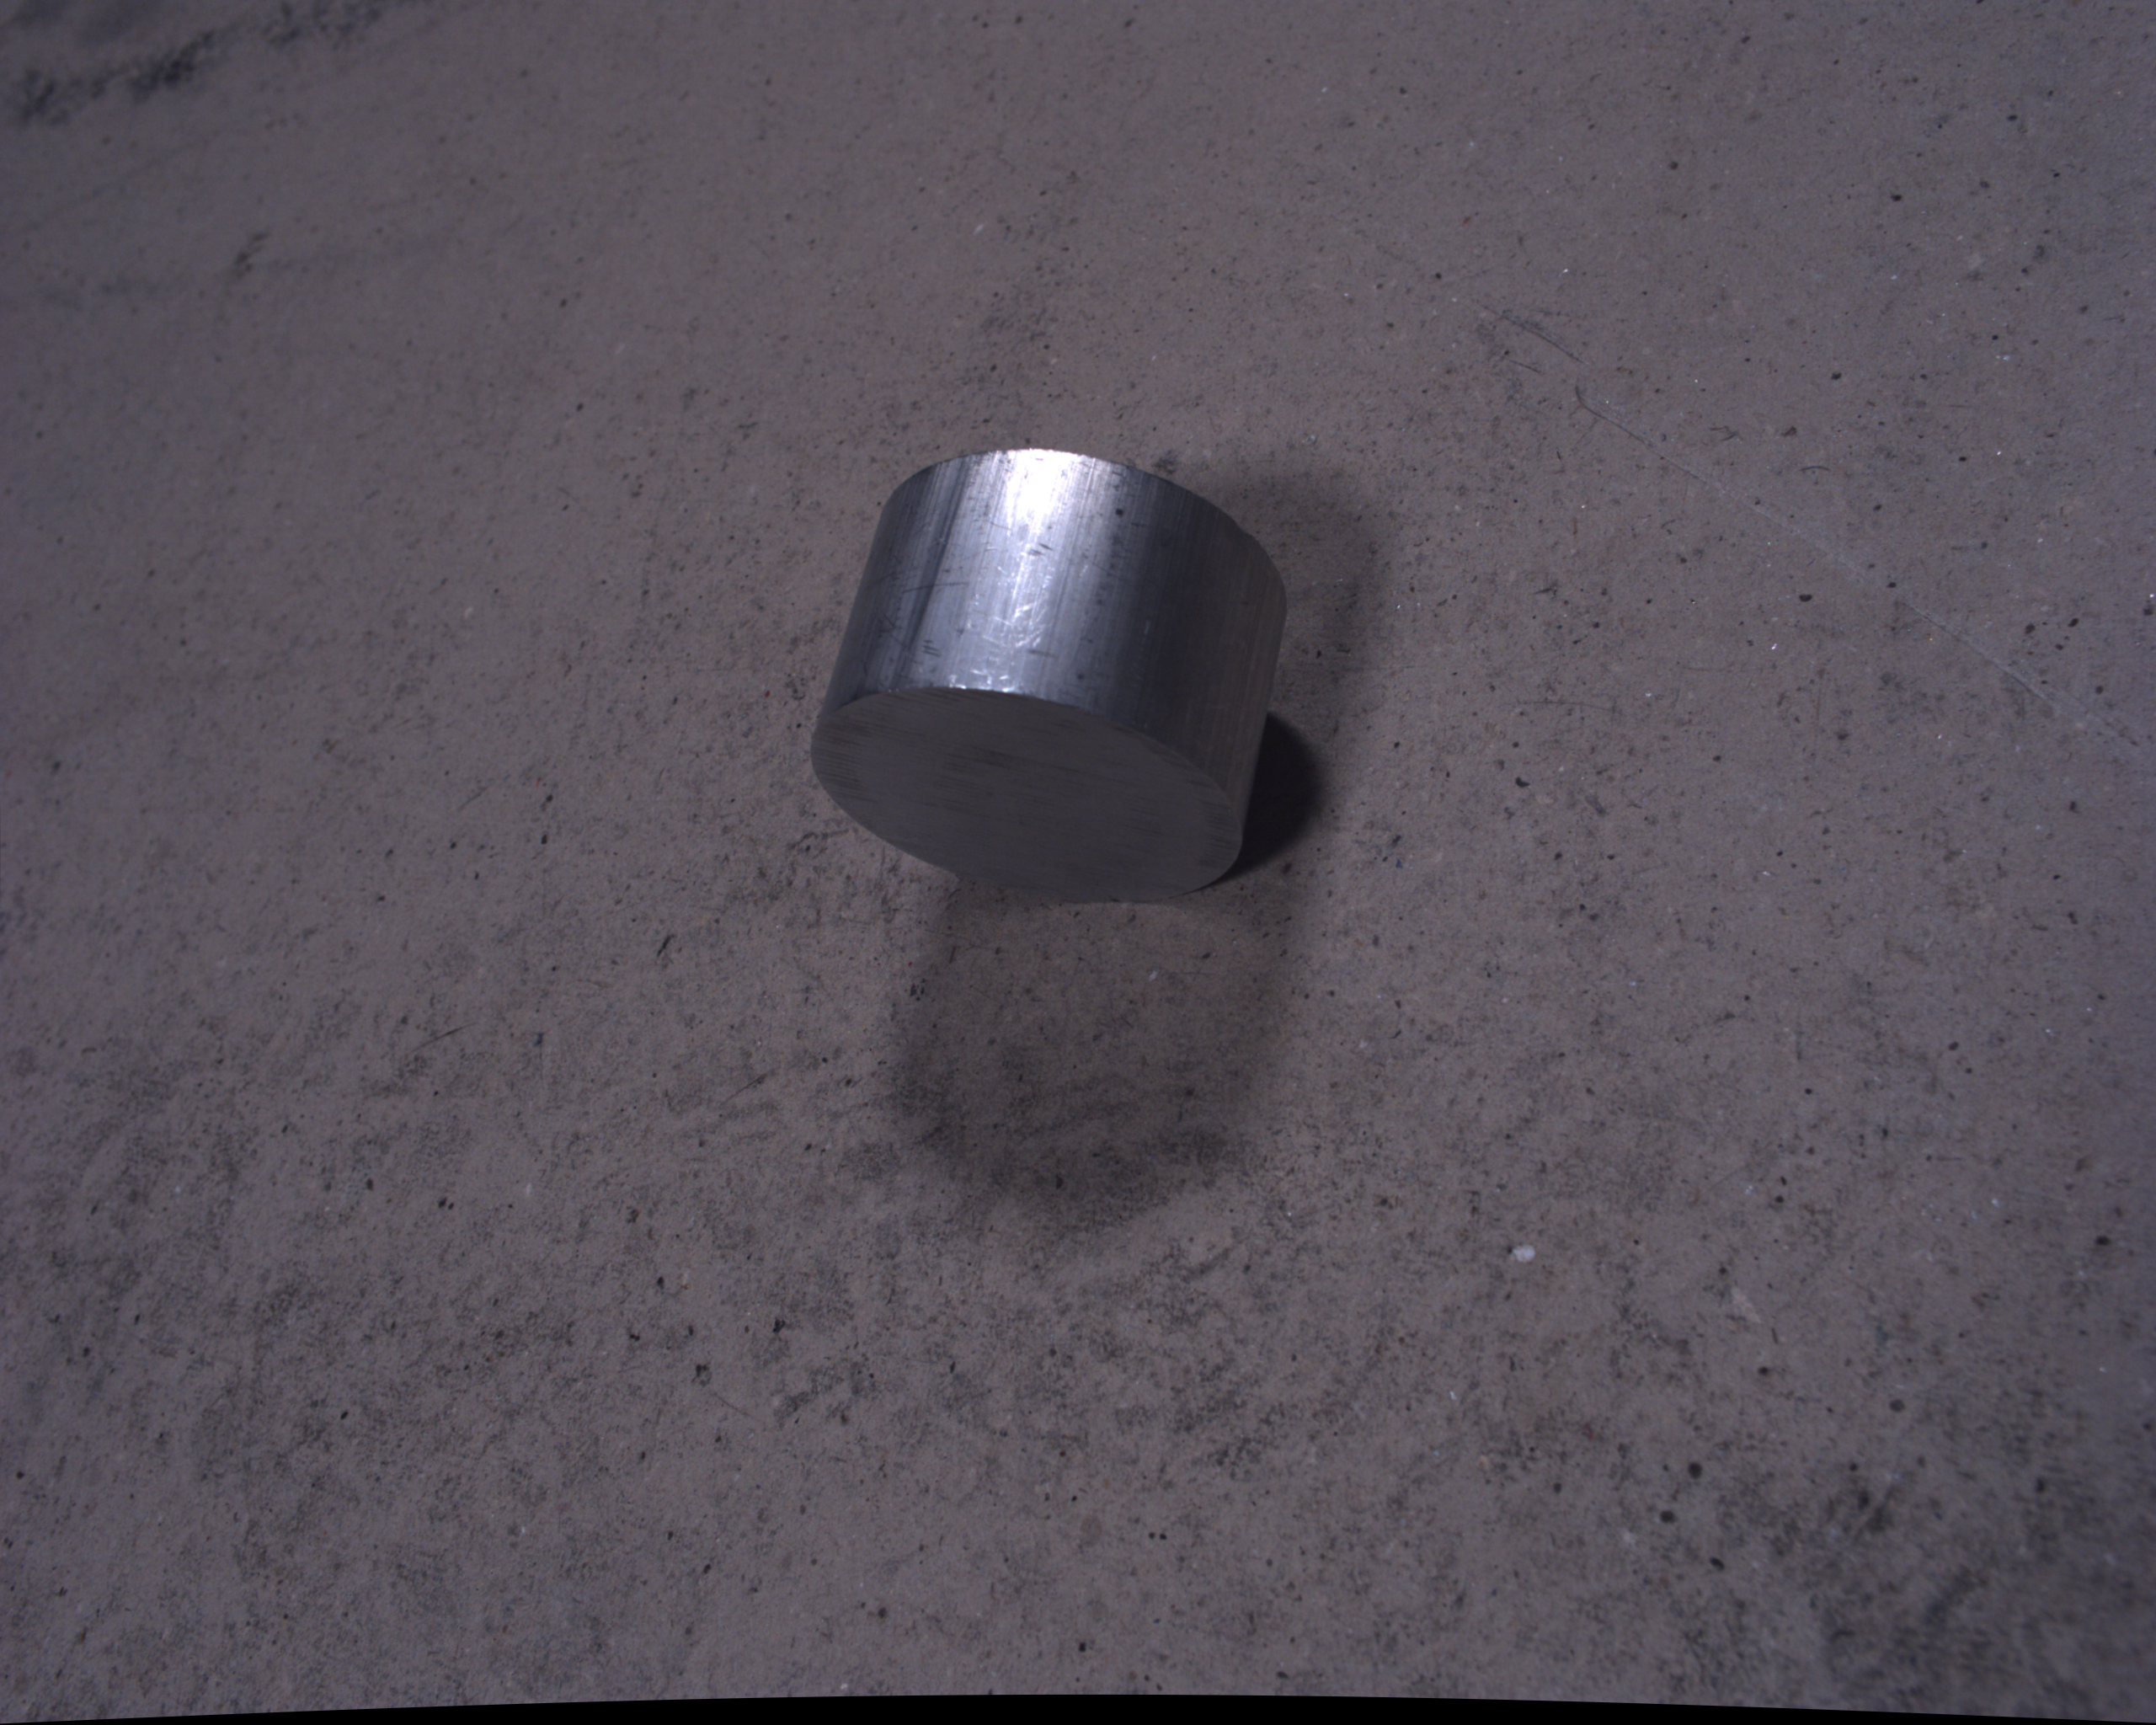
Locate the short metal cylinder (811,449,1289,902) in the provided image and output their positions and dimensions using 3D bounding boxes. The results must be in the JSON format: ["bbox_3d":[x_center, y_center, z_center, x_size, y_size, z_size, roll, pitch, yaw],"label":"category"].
[{"bbox_3d":[-0.004,-0.033,0.392,0.080,0.080,0.050,-1,62,27],"label":"short metal cylinder"}]
